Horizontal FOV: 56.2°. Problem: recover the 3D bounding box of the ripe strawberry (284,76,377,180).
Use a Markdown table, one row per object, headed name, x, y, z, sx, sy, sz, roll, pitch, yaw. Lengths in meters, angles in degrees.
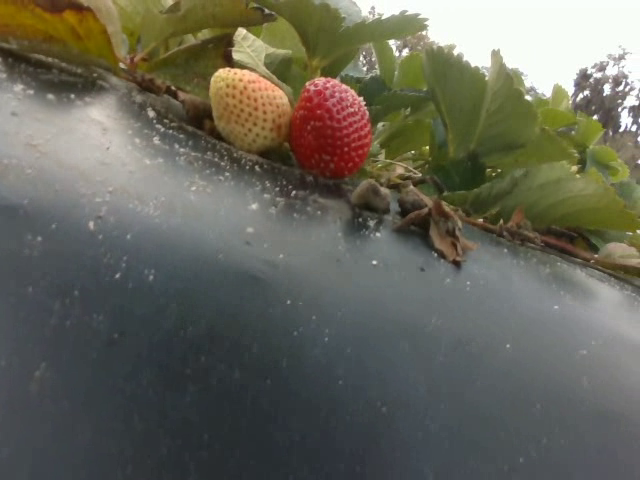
| name | x | y | z | sx | sy | sz | roll | pitch | yaw |
| --- | --- | --- | --- | --- | --- | --- | --- | --- | --- |
| ripe strawberry | 0.003 | -0.041 | 0.199 | 0.033 | 0.034 | 0.042 | -39 | -27 | -6 |
